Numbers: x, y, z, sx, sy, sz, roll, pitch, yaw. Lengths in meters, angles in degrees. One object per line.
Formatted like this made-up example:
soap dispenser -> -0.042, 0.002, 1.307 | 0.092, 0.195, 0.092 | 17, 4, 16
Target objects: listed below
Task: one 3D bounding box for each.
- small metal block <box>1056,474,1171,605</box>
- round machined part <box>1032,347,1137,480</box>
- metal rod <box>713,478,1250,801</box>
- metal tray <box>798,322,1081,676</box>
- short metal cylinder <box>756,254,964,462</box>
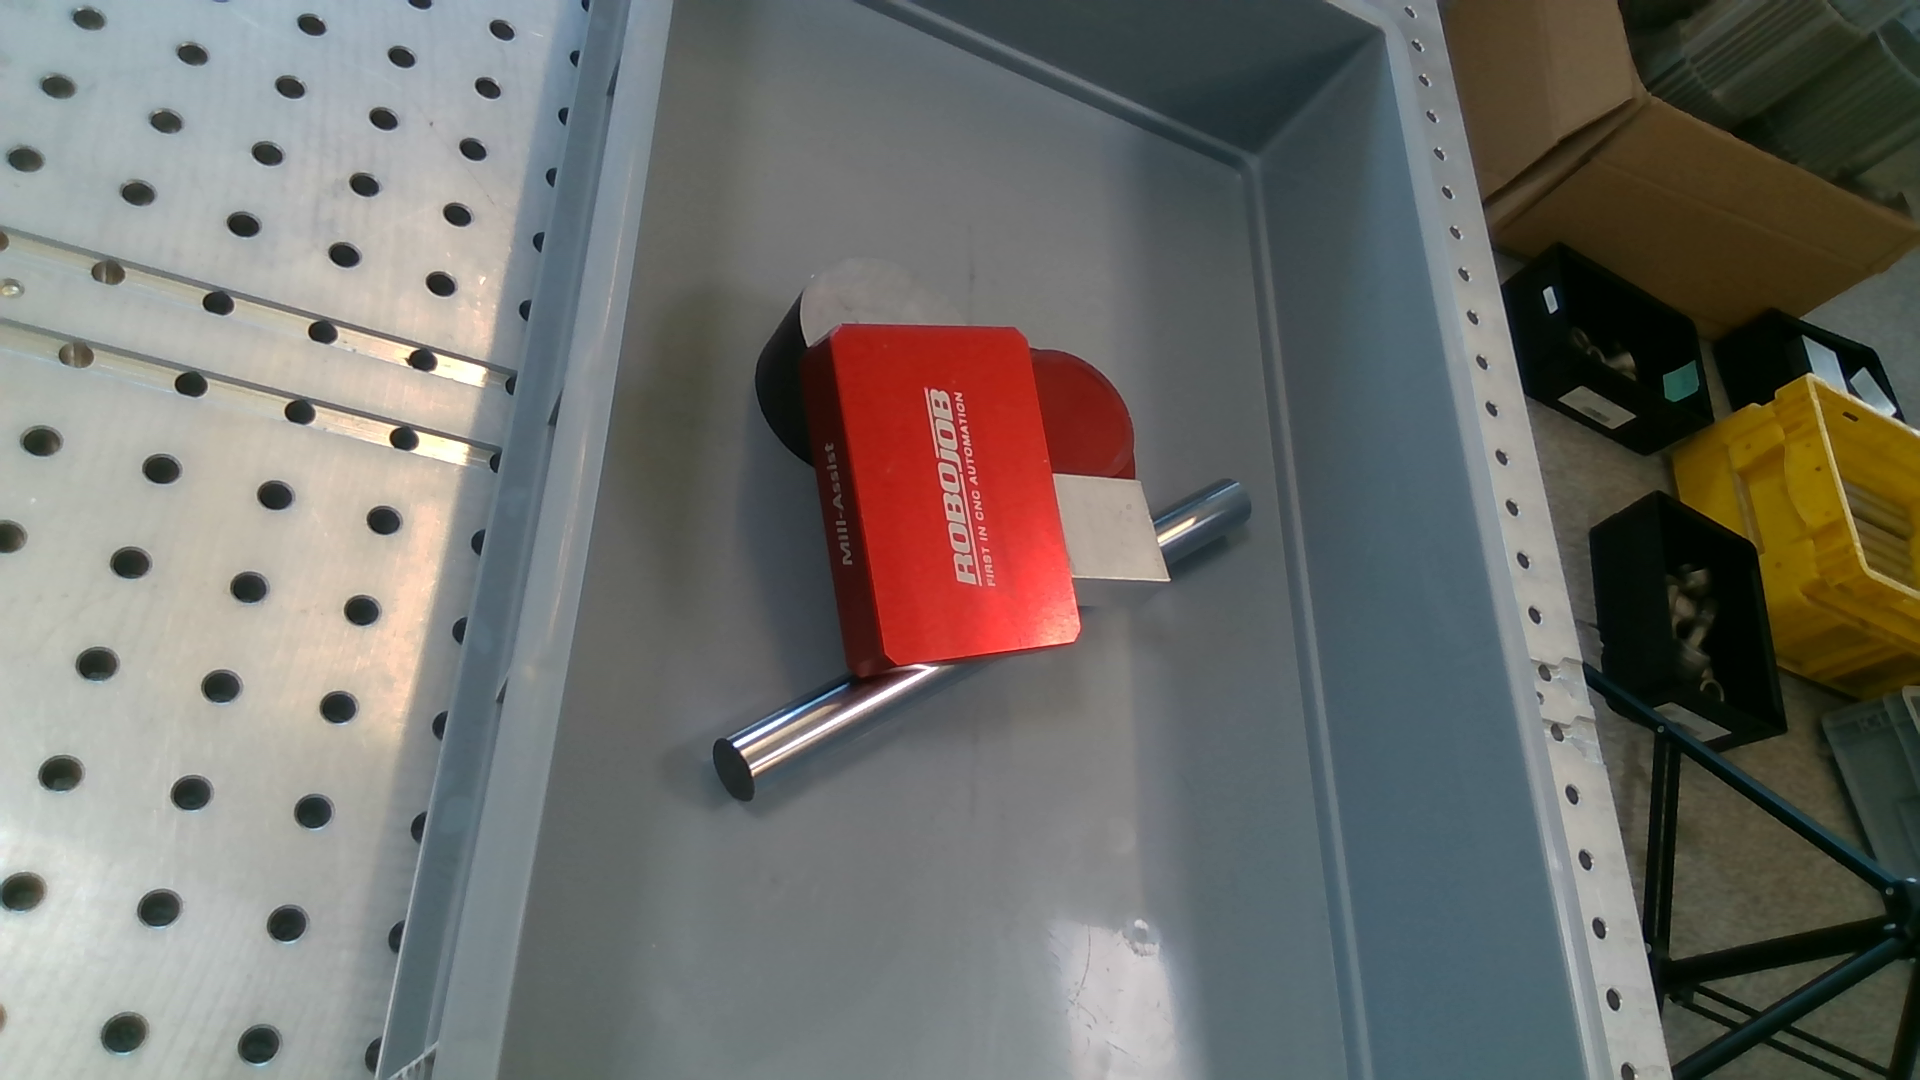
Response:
small metal block -> 0.056, 0.001, 0.589 | 0.050, 0.025, 0.050 | 3, 59, -28
round machined part -> 0.040, -0.048, 0.623 | 0.098, 0.042, 0.098 | 15, 57, -24
metal rod -> 0.026, 0.032, 0.584 | 0.300, 0.025, 0.025 | -25, 80, -38
metal tray -> -0.008, -0.017, 0.537 | 0.090, 0.030, 0.130 | -5, 81, -33
short metal cylinder -> -0.040, -0.073, 0.583 | 0.080, 0.050, 0.080 | 14, 59, -25
